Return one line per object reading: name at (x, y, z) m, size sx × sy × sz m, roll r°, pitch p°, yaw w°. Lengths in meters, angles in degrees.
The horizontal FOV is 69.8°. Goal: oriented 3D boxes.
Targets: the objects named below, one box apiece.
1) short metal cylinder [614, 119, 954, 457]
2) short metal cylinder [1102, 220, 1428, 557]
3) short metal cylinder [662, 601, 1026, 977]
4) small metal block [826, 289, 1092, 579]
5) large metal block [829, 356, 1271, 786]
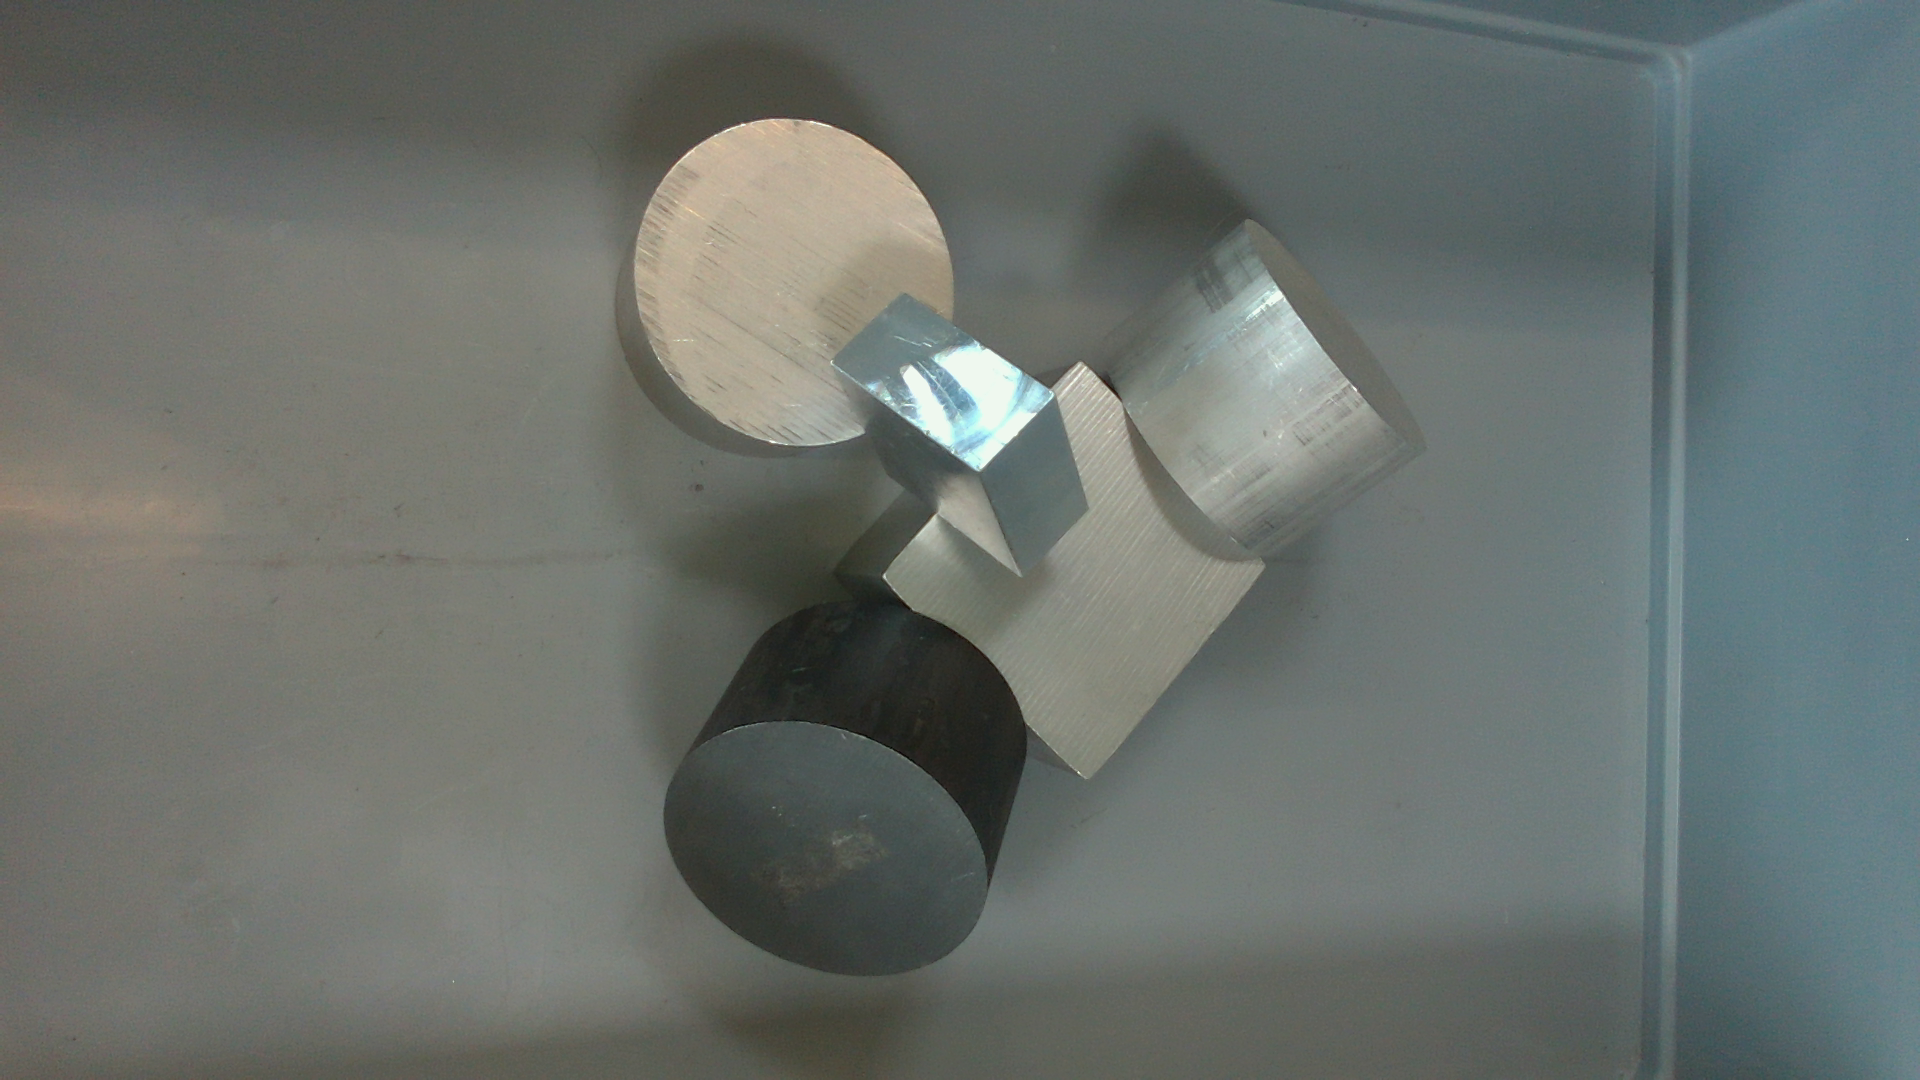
short metal cylinder at (-0.048, -0.063, 0.362) m, size 0.080 × 0.050 × 0.080 m, roll 0°, pitch 90°, yaw -20°
short metal cylinder at (0.085, -0.042, 0.387) m, size 0.050 × 0.080 × 0.080 m, roll -38°, pitch 106°, yaw 24°
short metal cylinder at (-0.027, 0.063, 0.347) m, size 0.080 × 0.050 × 0.080 m, roll 7°, pitch 122°, yaw 11°
small metal block at (0.001, -0.024, 0.327) m, size 0.050 × 0.050 × 0.025 m, roll 37°, pitch 76°, yaw 29°
large metal block at (0.025, 0.008, 0.386) m, size 0.080 × 0.050 × 0.080 m, roll 46°, pitch 76°, yaw -14°
